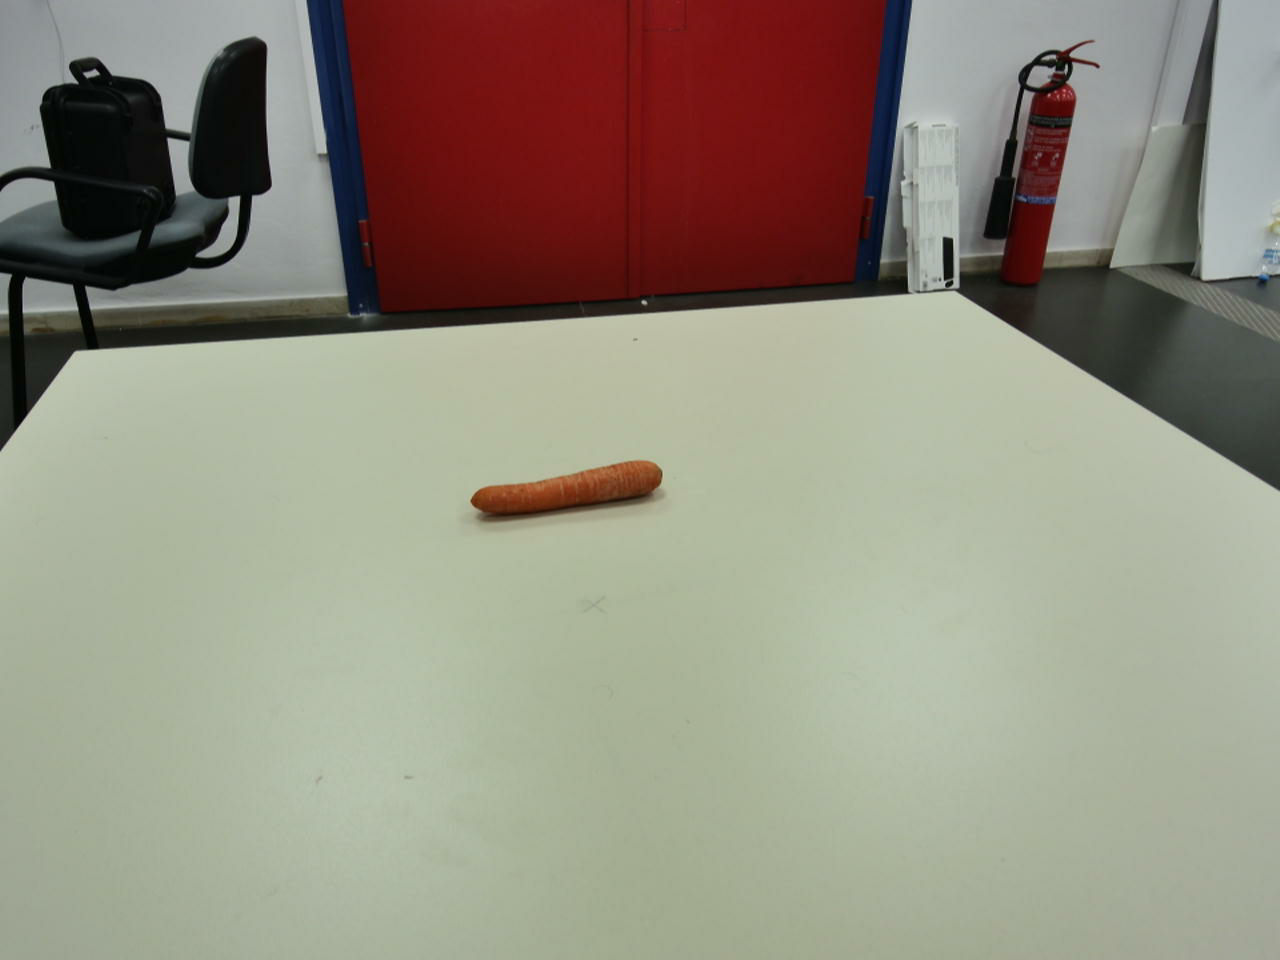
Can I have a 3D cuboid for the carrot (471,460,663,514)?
[{"bbox_3d":[-0.045,0.005,0.631,0.122,0.023,0.024,-7,27,-14],"label":"carrot"}]
